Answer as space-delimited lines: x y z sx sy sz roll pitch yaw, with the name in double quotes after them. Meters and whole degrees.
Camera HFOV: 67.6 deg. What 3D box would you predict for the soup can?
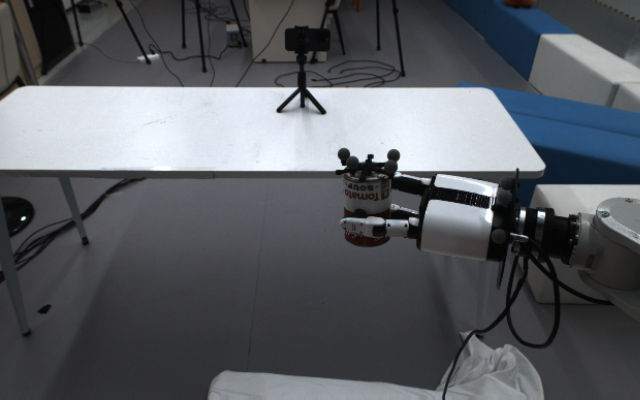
0.068 0.004 0.679 0.067 0.101 0.067 -3 27 2 "soup can"
